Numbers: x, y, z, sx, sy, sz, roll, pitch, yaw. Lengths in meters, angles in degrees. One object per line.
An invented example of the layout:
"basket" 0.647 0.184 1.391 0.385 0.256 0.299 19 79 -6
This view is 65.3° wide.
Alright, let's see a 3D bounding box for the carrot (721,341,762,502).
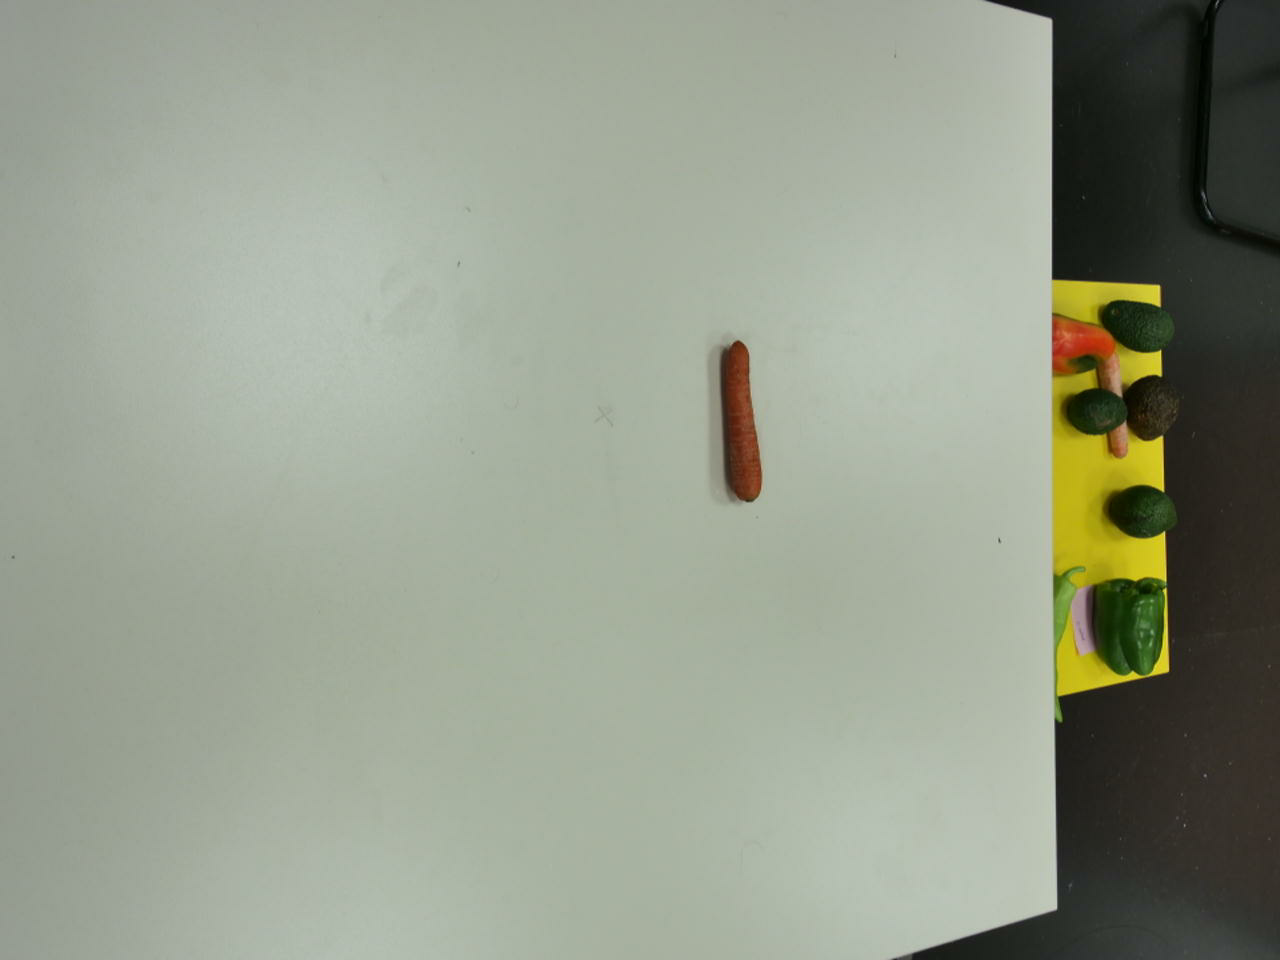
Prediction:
"carrot" 0.076 -0.044 0.749 0.024 0.023 0.122 -3 92 -28
